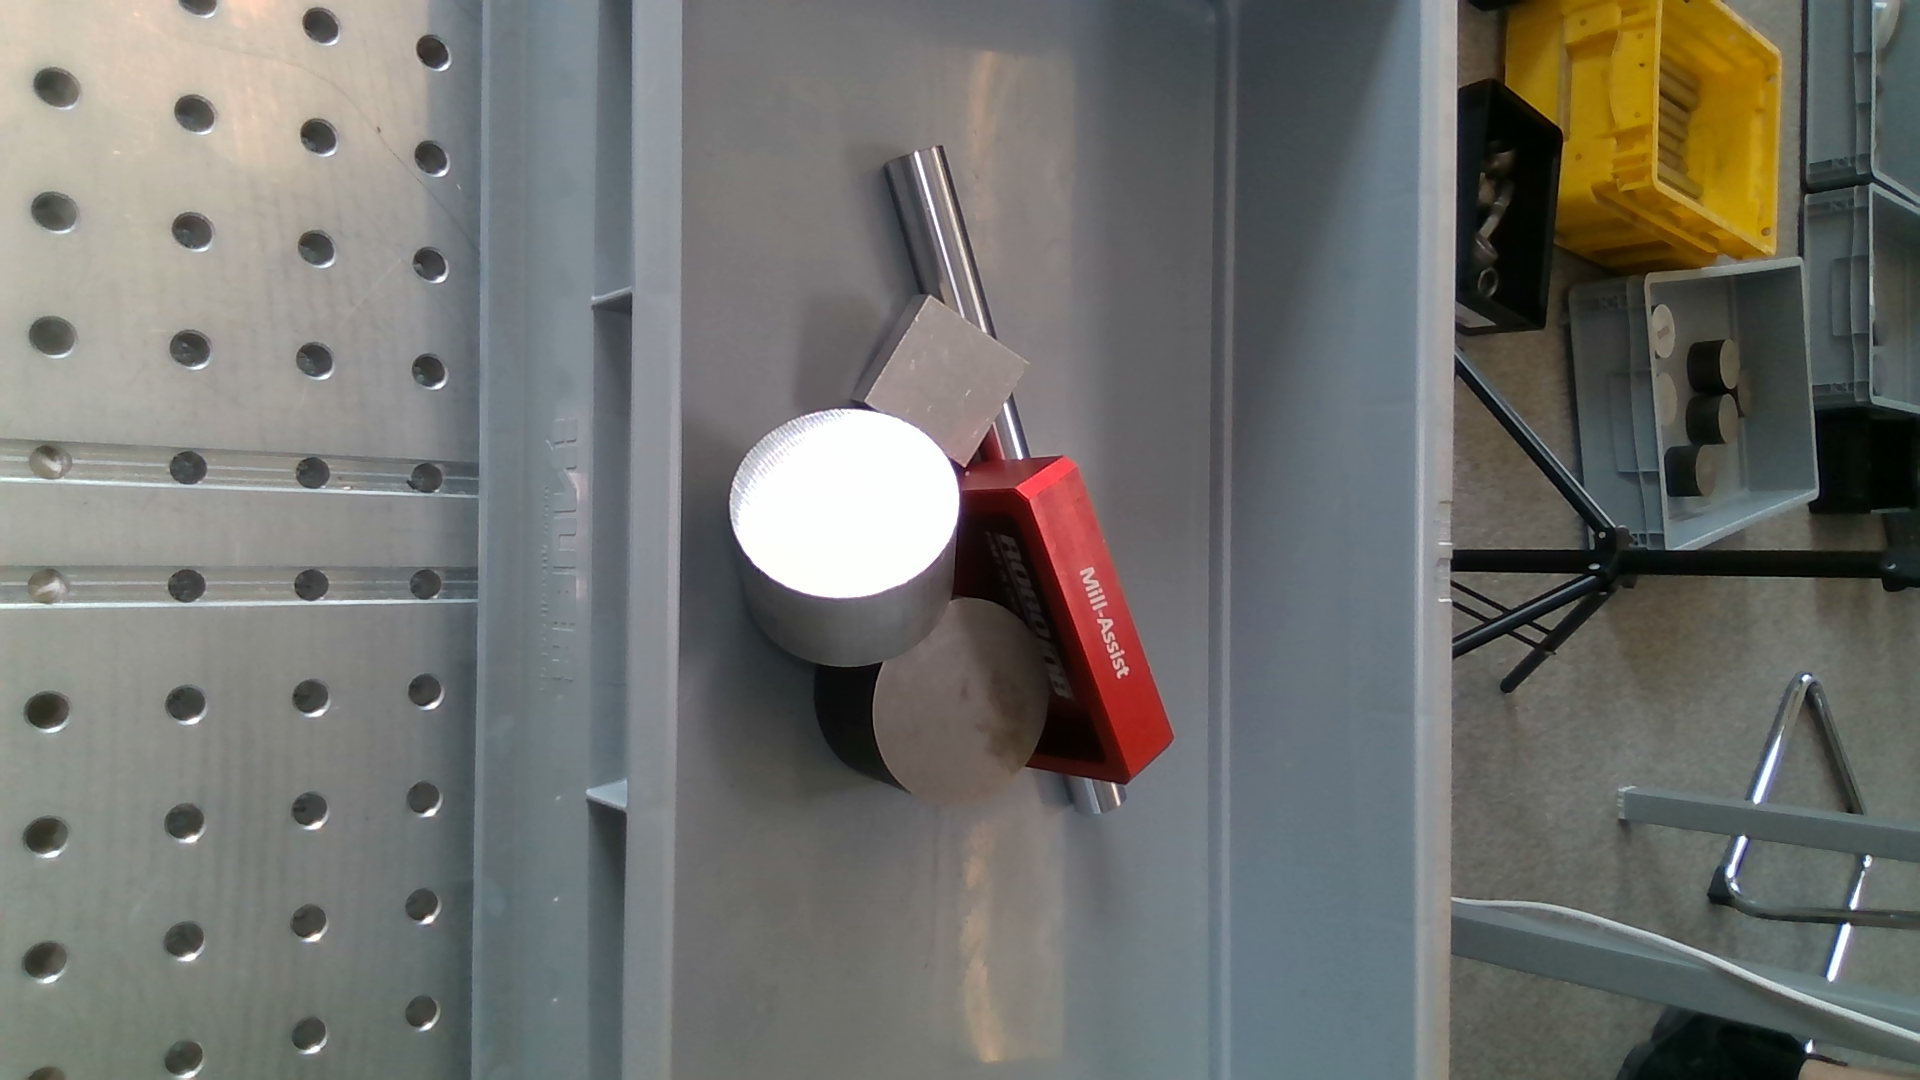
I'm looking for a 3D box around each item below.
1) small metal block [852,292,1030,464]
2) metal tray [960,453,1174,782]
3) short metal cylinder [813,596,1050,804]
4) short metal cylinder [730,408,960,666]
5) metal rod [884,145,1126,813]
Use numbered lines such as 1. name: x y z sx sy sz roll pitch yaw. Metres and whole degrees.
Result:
1. small metal block: -0.009 -0.065 0.558 0.050 0.025 0.050 32 89 -19
2. metal tray: 0.027 0.031 0.562 0.030 0.090 0.130 -34 111 -35
3. short metal cylinder: -0.011 0.060 0.550 0.080 0.050 0.080 -3 96 -32
4. short metal cylinder: -0.041 -0.001 0.503 0.080 0.080 0.050 -51 161 -28
5. metal rod: 0.023 -0.019 0.601 0.025 0.025 0.300 -28 108 -37
